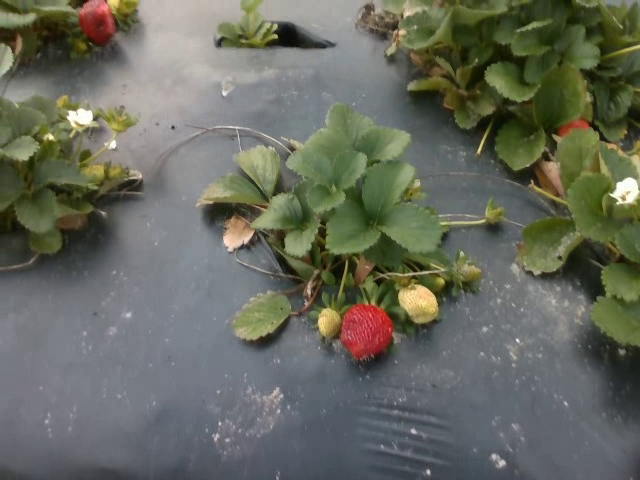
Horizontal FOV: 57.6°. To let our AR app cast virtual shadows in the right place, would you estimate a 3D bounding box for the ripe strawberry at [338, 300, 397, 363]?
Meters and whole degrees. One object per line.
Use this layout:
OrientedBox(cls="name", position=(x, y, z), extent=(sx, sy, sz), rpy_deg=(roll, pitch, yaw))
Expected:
OrientedBox(cls="ripe strawberry", position=(0.035, 0.078, 0.454), extent=(0.047, 0.045, 0.059), rpy_deg=(5, 26, 17))
